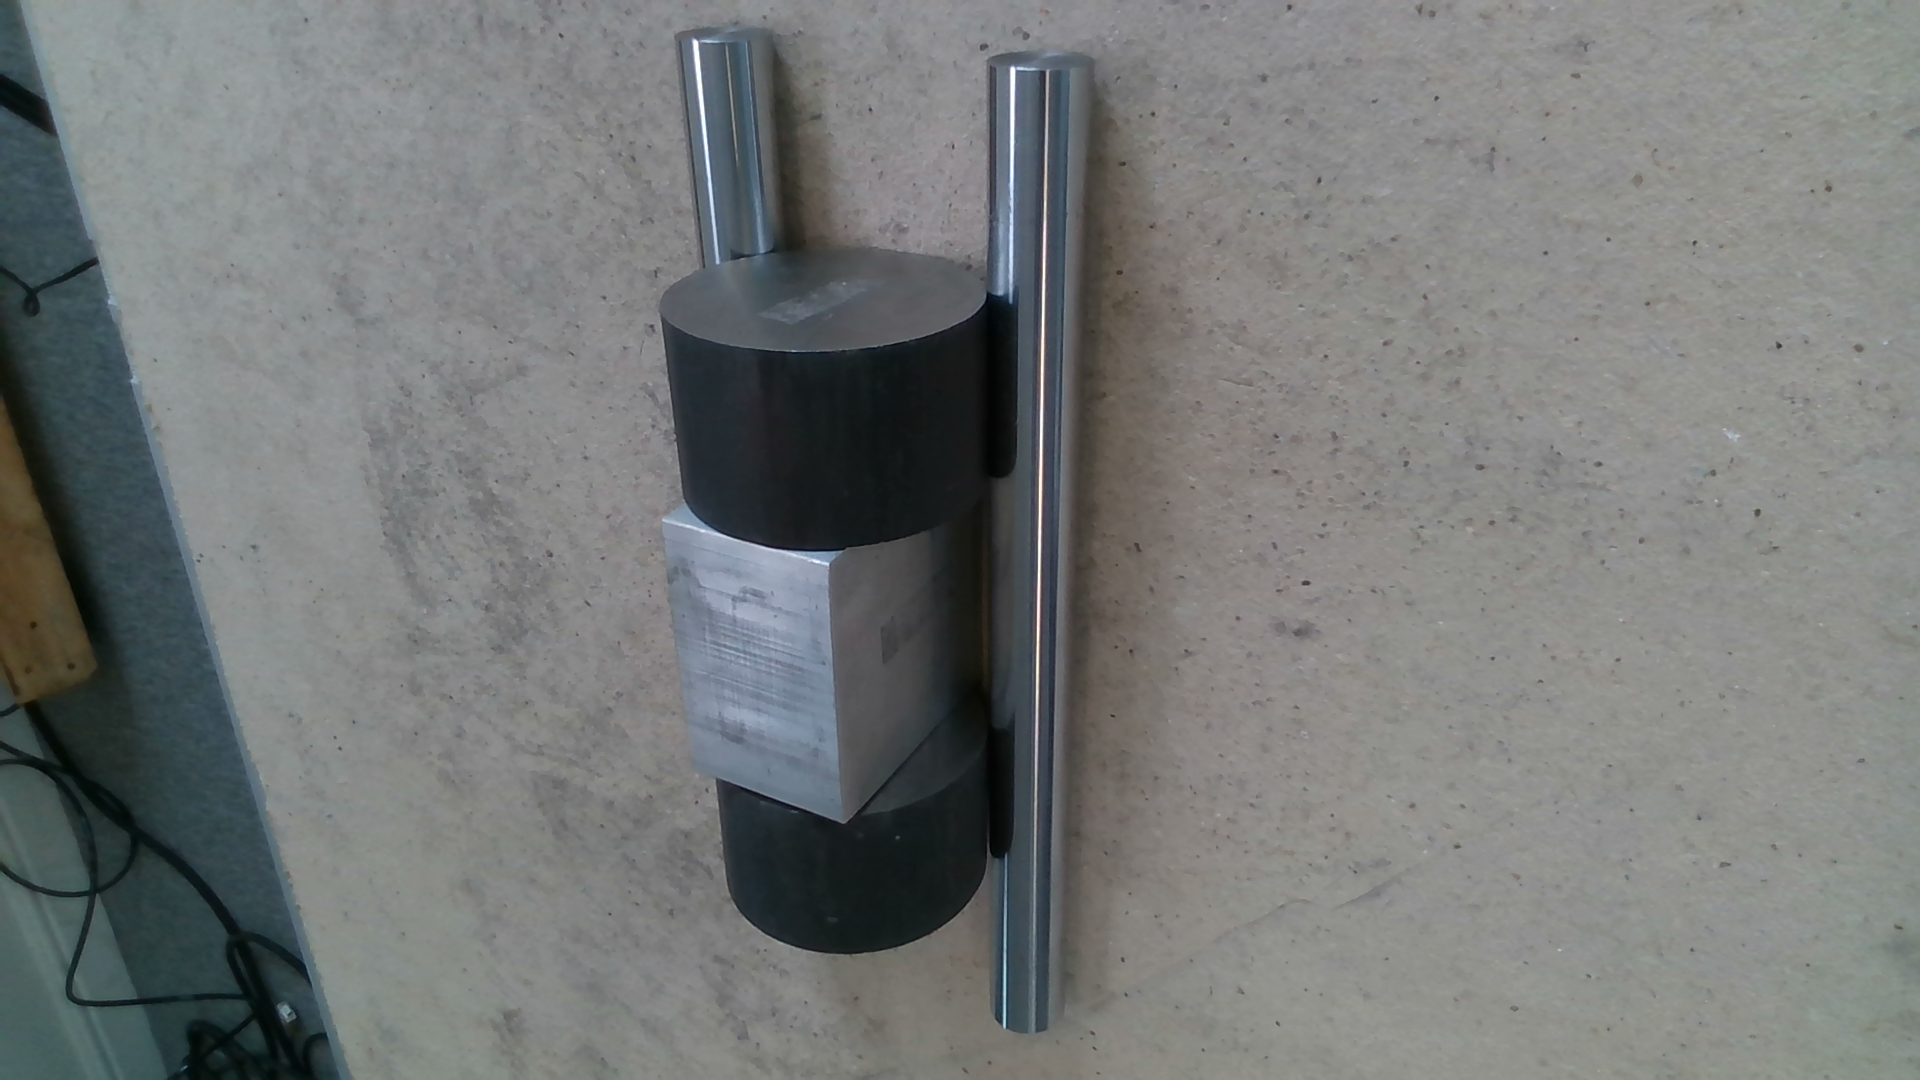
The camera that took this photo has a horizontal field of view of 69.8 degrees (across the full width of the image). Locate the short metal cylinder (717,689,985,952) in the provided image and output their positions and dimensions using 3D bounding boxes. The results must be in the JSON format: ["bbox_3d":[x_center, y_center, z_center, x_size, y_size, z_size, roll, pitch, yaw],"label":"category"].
[{"bbox_3d":[-0.033,0.076,0.415,0.080,0.080,0.050,13,121,25],"label":"short metal cylinder"}]

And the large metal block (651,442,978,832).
[{"bbox_3d":[-0.036,0.019,0.383,0.050,0.080,0.080,14,122,25],"label":"large metal block"}]

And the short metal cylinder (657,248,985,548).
[{"bbox_3d":[-0.034,-0.039,0.352,0.080,0.080,0.050,13,121,25],"label":"short metal cylinder"}]

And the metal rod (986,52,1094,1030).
[{"bbox_3d":[0.020,0.022,0.389,0.025,0.025,0.301,14,122,25],"label":"metal rod"}]

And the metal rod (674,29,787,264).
[{"bbox_3d":[-0.059,0.002,0.427,0.025,0.025,0.301,14,122,25],"label":"metal rod"}]
